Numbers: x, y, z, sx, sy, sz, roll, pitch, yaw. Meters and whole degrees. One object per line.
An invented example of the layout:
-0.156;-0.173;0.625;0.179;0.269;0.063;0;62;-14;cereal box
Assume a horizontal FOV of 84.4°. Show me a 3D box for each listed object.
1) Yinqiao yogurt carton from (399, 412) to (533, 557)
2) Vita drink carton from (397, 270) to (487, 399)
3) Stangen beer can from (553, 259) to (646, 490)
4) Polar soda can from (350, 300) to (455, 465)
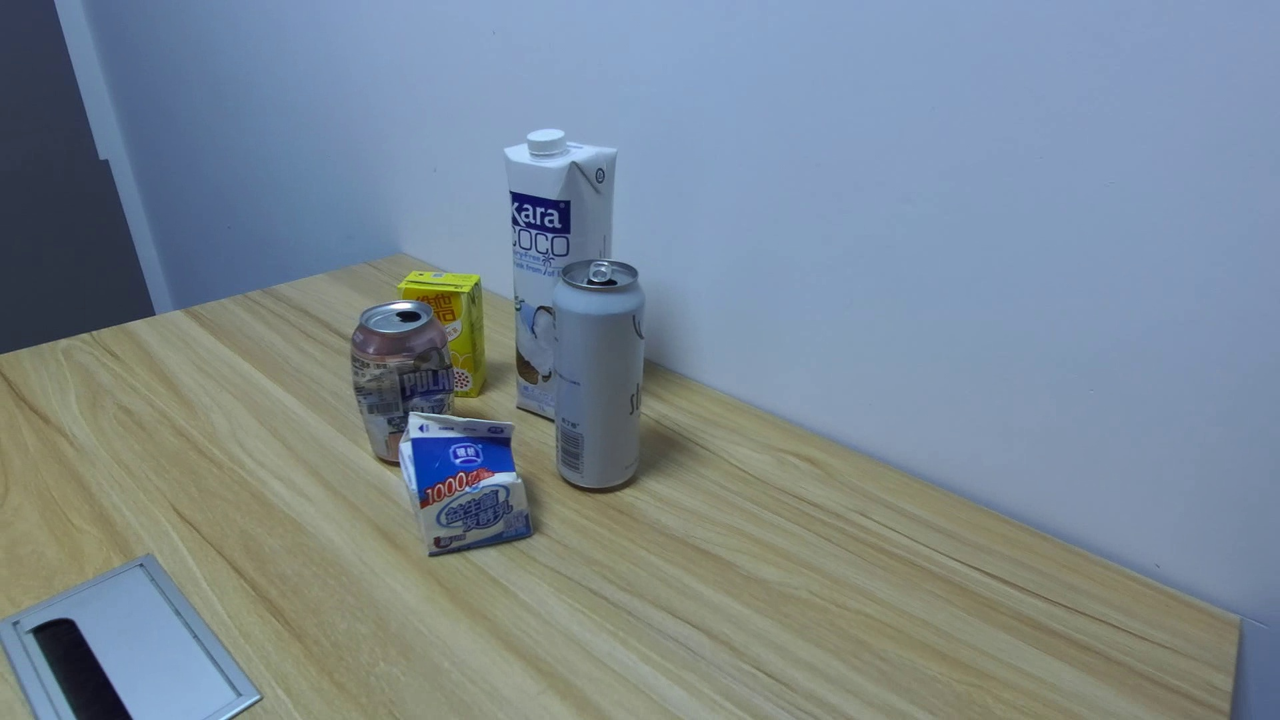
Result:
-0.123;0.072;0.494;0.083;0.093;0.077;-7;29;-17;Yinqiao yogurt carton
-0.181;-0.024;0.655;0.066;0.109;0.043;5;27;1;Vita drink carton
-0.031;0.013;0.530;0.067;0.171;0.067;2;28;-1;Stangen beer can
-0.185;0.018;0.566;0.074;0.122;0.067;11;32;16;Polar soda can
